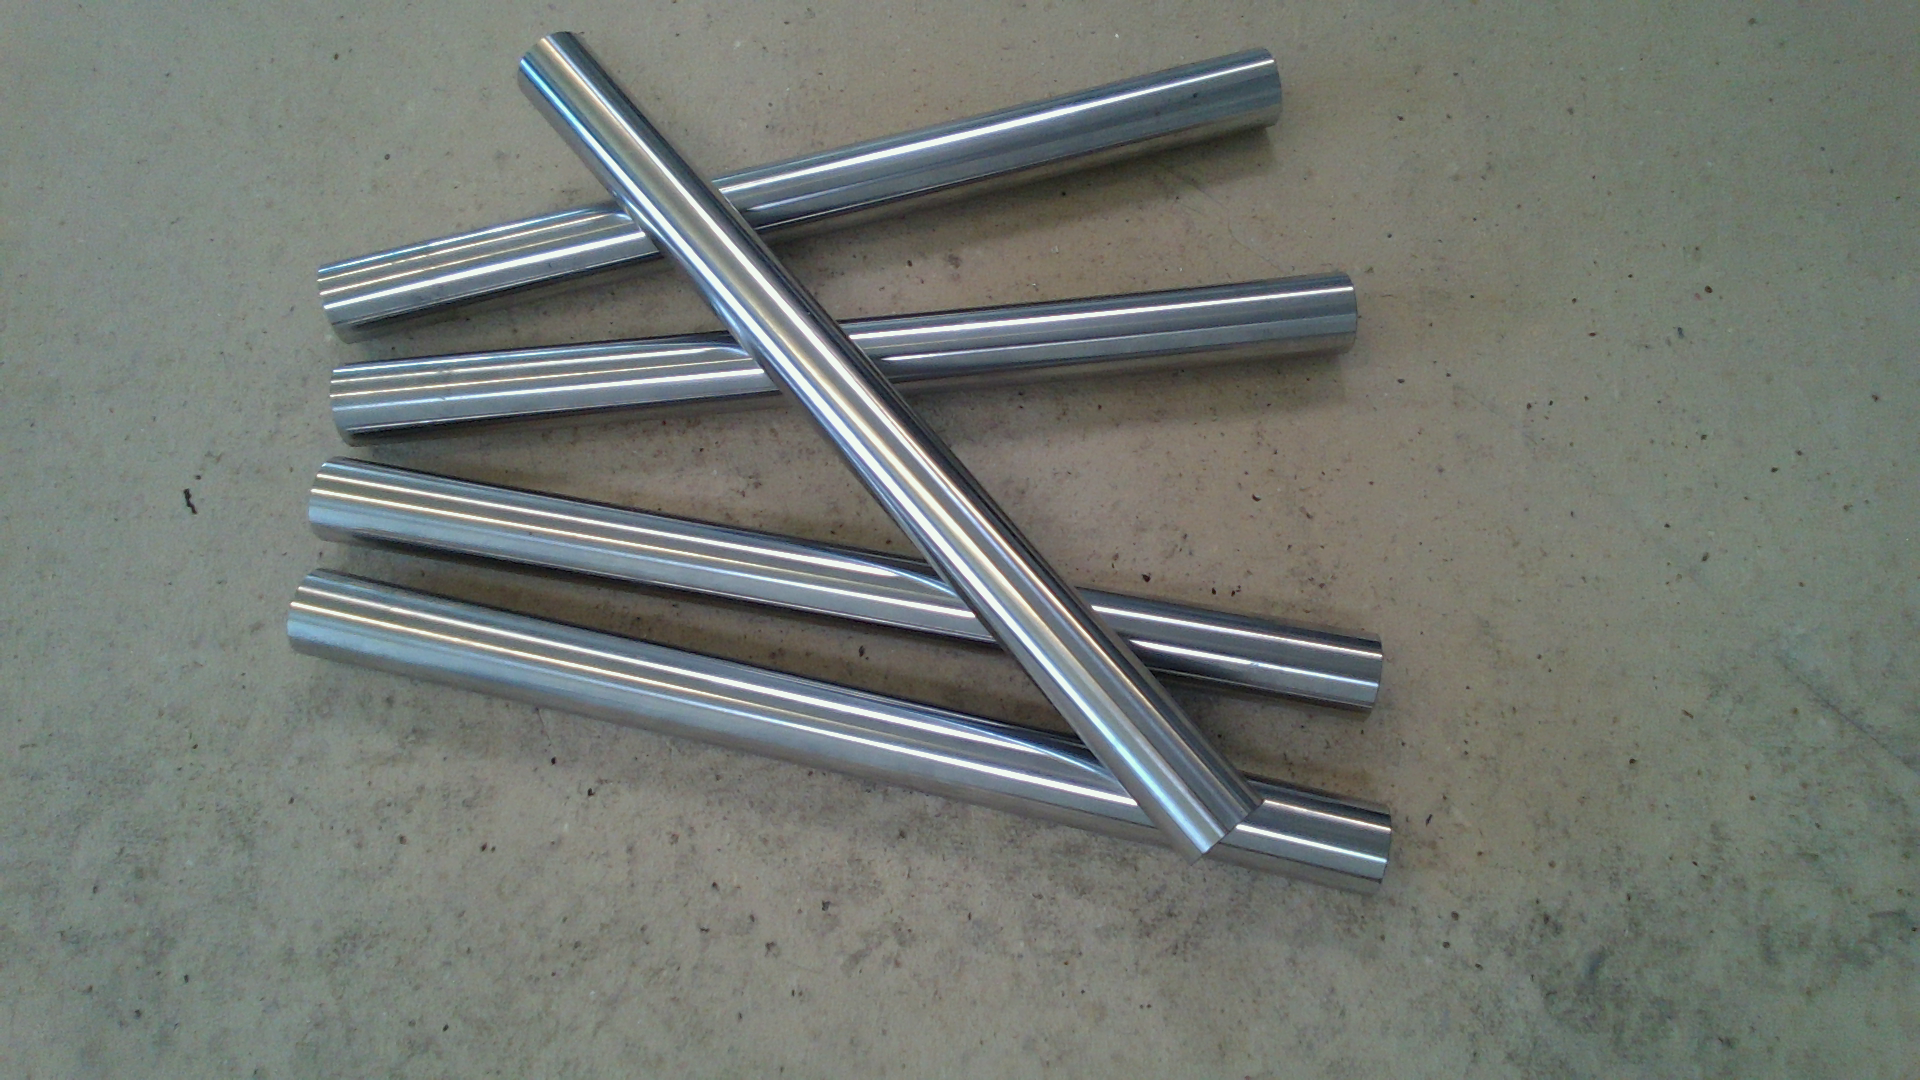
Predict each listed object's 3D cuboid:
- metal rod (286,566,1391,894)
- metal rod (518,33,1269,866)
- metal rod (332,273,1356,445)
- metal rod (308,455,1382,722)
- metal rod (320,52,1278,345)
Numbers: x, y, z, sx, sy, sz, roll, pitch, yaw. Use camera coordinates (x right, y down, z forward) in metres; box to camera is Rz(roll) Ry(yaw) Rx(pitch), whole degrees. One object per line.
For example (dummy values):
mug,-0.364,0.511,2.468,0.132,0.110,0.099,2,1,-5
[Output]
metal rod,-0.036,0.050,0.376,0.300,0.025,0.025,12,70,4
metal rod,-0.028,-0.036,0.381,0.025,0.025,0.300,-38,74,-13
metal rod,-0.032,-0.055,0.415,0.300,0.025,0.025,-6,70,-2
metal rod,-0.034,0.013,0.390,0.300,0.025,0.025,10,70,3
metal rod,-0.046,-0.109,0.435,0.300,0.025,0.025,-14,71,-6
